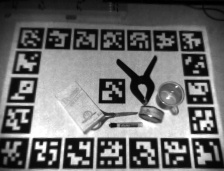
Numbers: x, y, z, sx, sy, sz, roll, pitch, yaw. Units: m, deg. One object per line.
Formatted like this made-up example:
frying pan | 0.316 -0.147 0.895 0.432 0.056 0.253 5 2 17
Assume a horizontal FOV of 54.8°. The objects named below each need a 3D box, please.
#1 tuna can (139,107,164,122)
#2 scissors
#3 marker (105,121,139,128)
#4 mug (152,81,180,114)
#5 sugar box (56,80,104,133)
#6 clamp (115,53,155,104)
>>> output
tuna can | 0.139 0.099 0.765 0.085 0.086 0.034 17 71 4
scissors | -0.008 0.101 0.791 0.203 0.016 0.087 -9 68 -7
marker | 0.037 0.141 0.782 0.121 0.020 0.019 -3 72 -3
mug | 0.199 0.051 0.789 0.093 0.082 0.116 -26 70 -10
sugar box | -0.115 0.073 0.780 0.093 0.045 0.175 -35 70 -13
clamp | 0.109 -0.026 0.843 0.166 0.037 0.202 -9 73 -5
